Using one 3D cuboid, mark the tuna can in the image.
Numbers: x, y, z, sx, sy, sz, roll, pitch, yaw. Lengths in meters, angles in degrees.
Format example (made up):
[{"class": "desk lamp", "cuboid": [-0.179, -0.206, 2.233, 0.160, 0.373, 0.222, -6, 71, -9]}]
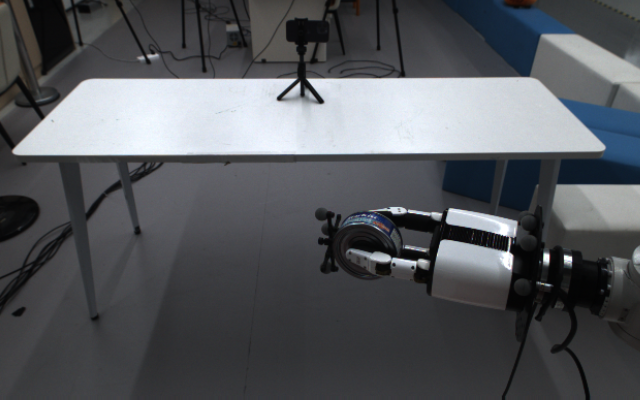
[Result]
[{"class": "tuna can", "cuboid": [0.063, 0.060, 0.614, 0.085, 0.085, 0.034, 12, 28, 14]}]
